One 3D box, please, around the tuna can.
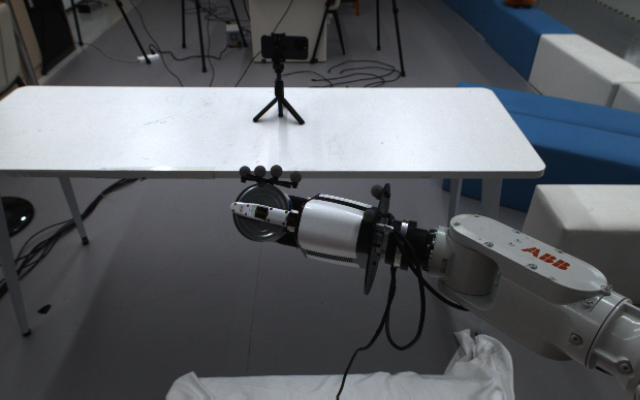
[{"bbox_3d":[-0.081,0.019,0.711,0.085,0.085,0.034,11,-5,13],"label":"tuna can"}]
